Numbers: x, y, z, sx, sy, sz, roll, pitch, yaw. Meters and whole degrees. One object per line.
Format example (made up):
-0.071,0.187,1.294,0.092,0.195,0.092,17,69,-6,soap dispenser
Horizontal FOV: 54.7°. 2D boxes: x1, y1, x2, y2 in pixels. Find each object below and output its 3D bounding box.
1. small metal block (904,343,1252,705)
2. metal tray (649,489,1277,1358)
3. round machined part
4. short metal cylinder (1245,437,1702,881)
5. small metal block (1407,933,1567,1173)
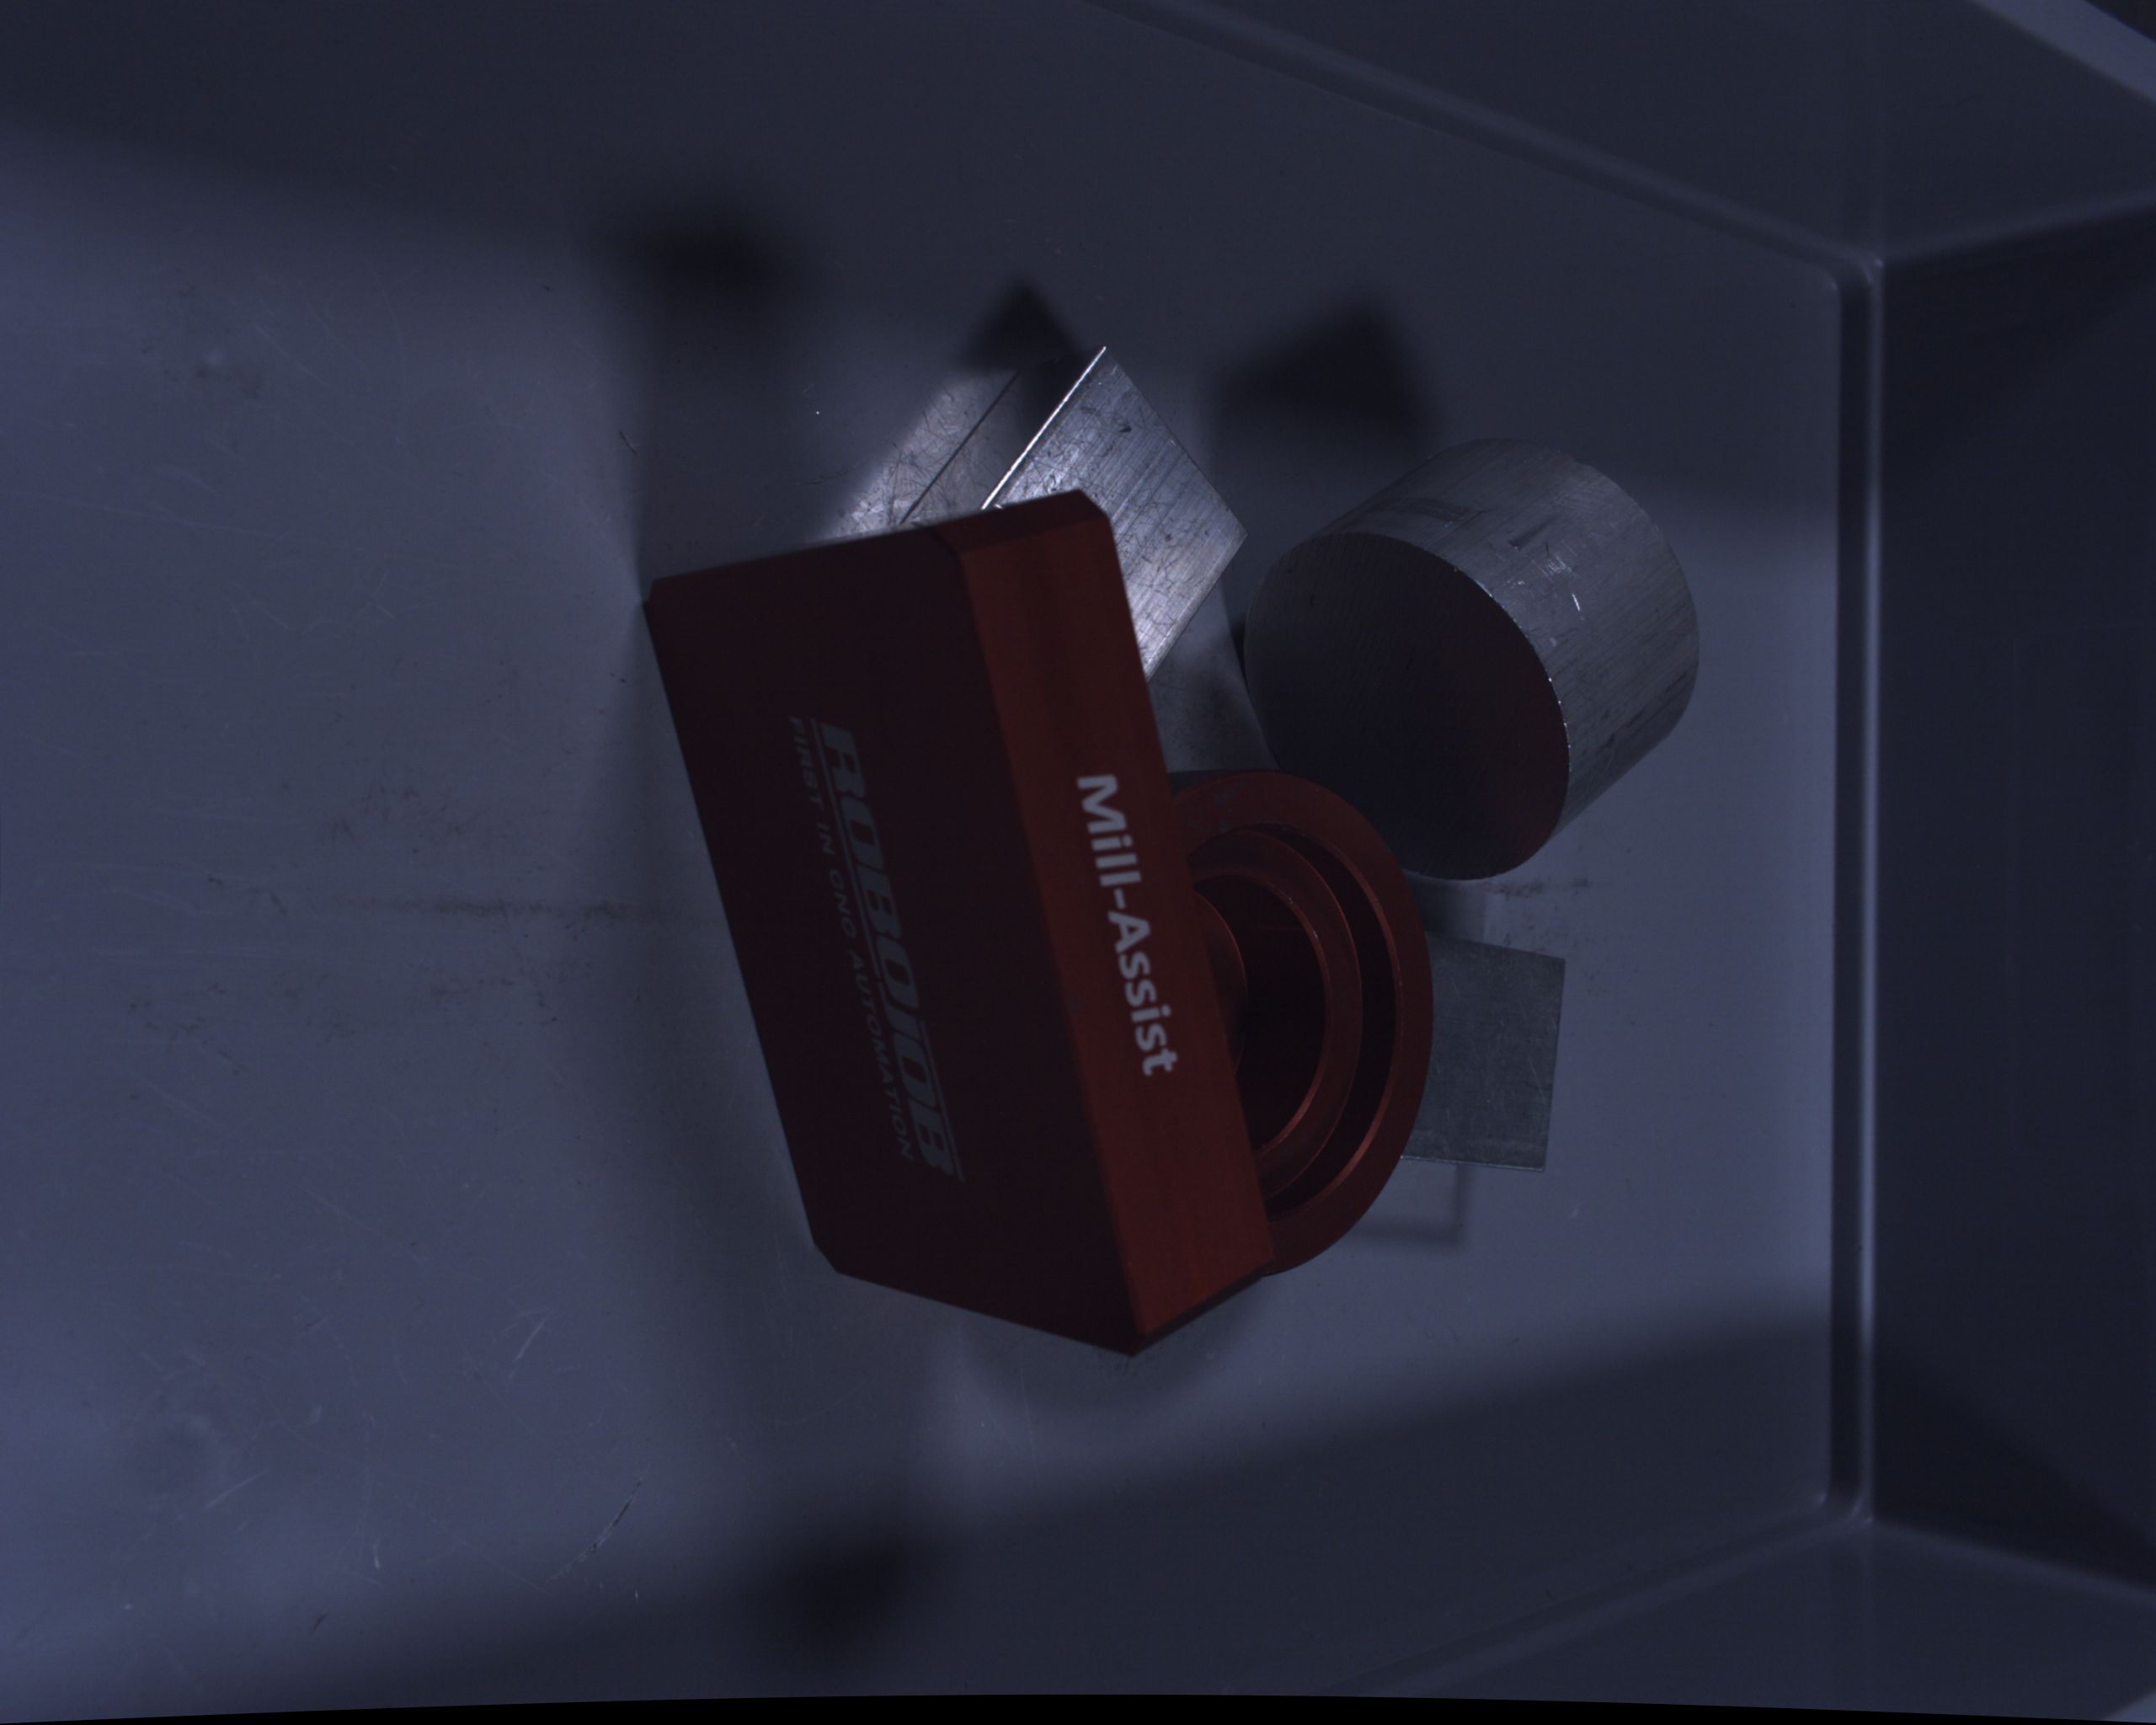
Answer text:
-0.001,-0.063,0.406,0.050,0.025,0.050,47,62,-28,small metal block
-0.021,0.010,0.346,0.030,0.090,0.129,-22,104,-38,metal tray
0.023,0.030,0.413,0.099,0.042,0.097,0,90,-40,round machined part
0.083,-0.043,0.440,0.050,0.080,0.080,-36,113,-34,short metal cylinder
0.084,0.043,0.477,0.050,0.025,0.050,12,82,-38,small metal block
